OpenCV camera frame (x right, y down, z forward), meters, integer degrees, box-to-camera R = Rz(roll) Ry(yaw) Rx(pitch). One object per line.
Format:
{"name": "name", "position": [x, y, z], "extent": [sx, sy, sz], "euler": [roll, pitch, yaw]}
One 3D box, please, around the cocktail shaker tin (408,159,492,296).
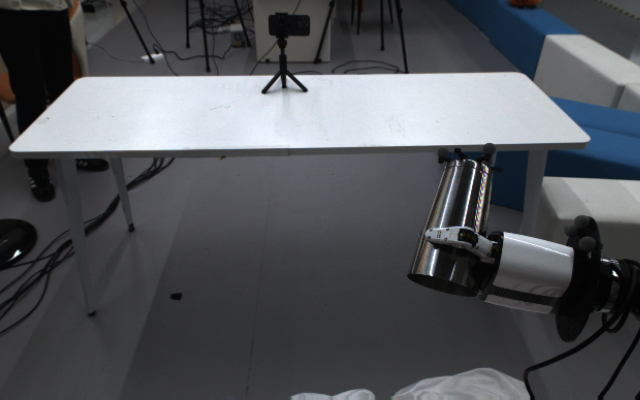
{"name": "cocktail shaker tin", "position": [0.185, 0.036, 0.656], "extent": [0.093, 0.093, 0.170], "euler": [13, 73, 16]}
